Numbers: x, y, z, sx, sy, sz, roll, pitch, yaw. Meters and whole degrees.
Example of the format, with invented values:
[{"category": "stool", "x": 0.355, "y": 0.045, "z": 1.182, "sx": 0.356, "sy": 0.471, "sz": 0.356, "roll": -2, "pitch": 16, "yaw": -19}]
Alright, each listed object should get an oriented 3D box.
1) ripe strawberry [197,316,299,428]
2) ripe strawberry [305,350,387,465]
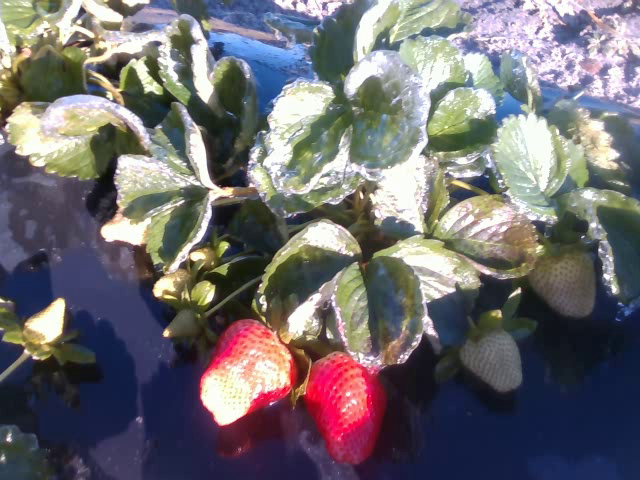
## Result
[{"category": "ripe strawberry", "x": -0.041, "y": 0.077, "z": 0.344, "sx": 0.052, "sy": 0.070, "sz": 0.040, "roll": 35, "pitch": -26, "yaw": 6}, {"category": "ripe strawberry", "x": 0.011, "y": 0.085, "z": 0.331, "sx": 0.043, "sy": 0.059, "sz": 0.040, "roll": -11, "pitch": -27, "yaw": -5}]
